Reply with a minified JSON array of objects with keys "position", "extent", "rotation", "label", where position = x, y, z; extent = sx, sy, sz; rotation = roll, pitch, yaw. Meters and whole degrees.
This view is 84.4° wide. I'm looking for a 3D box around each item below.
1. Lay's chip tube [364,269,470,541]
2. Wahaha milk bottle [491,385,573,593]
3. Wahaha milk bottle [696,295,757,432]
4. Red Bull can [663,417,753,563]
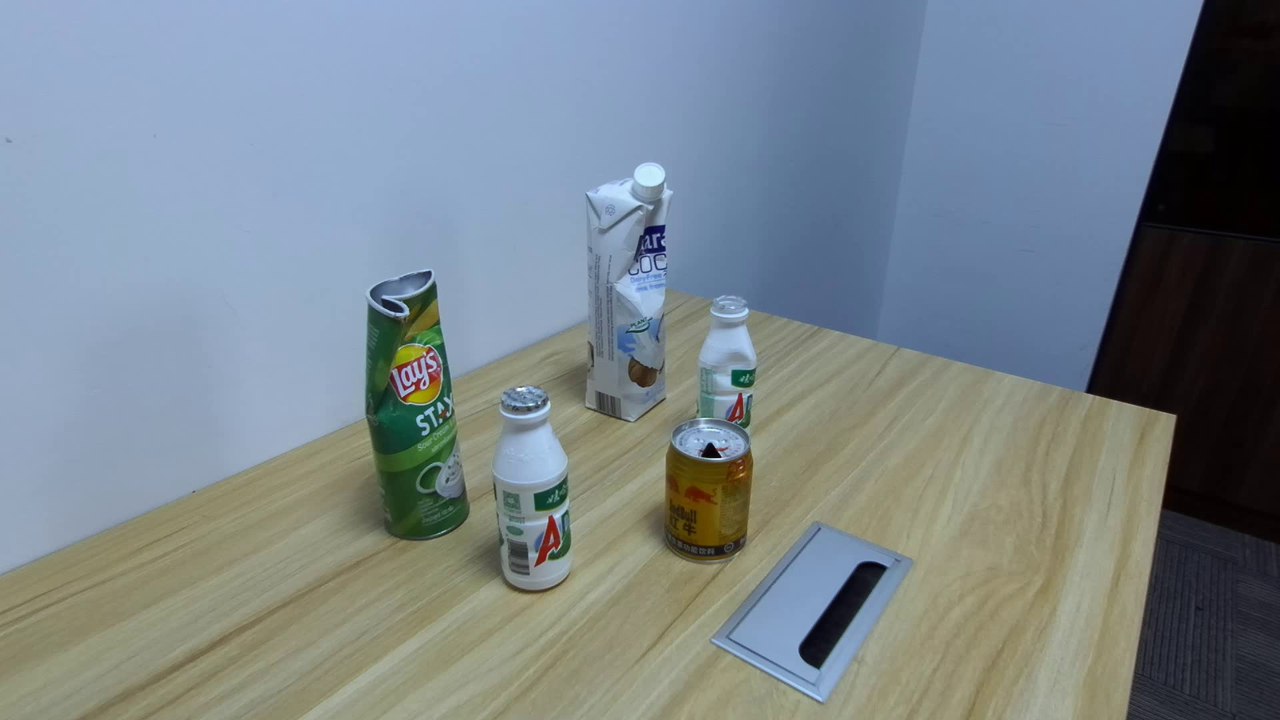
[{"position":[-0.176,0.038,0.548],"extent":[0.069,0.201,0.077],"rotation":[-10,29,-23],"label":"Lay's chip tube"},{"position":[-0.076,0.091,0.496],"extent":[0.053,0.147,0.053],"rotation":[0,26,0],"label":"Wahaha milk bottle"},{"position":[0.080,0.016,0.655],"extent":[0.055,0.149,0.055],"rotation":[1,26,0],"label":"Wahaha milk bottle"},{"position":[0.052,0.099,0.543],"extent":[0.067,0.093,0.067],"rotation":[1,24,0],"label":"Red Bull can"}]
